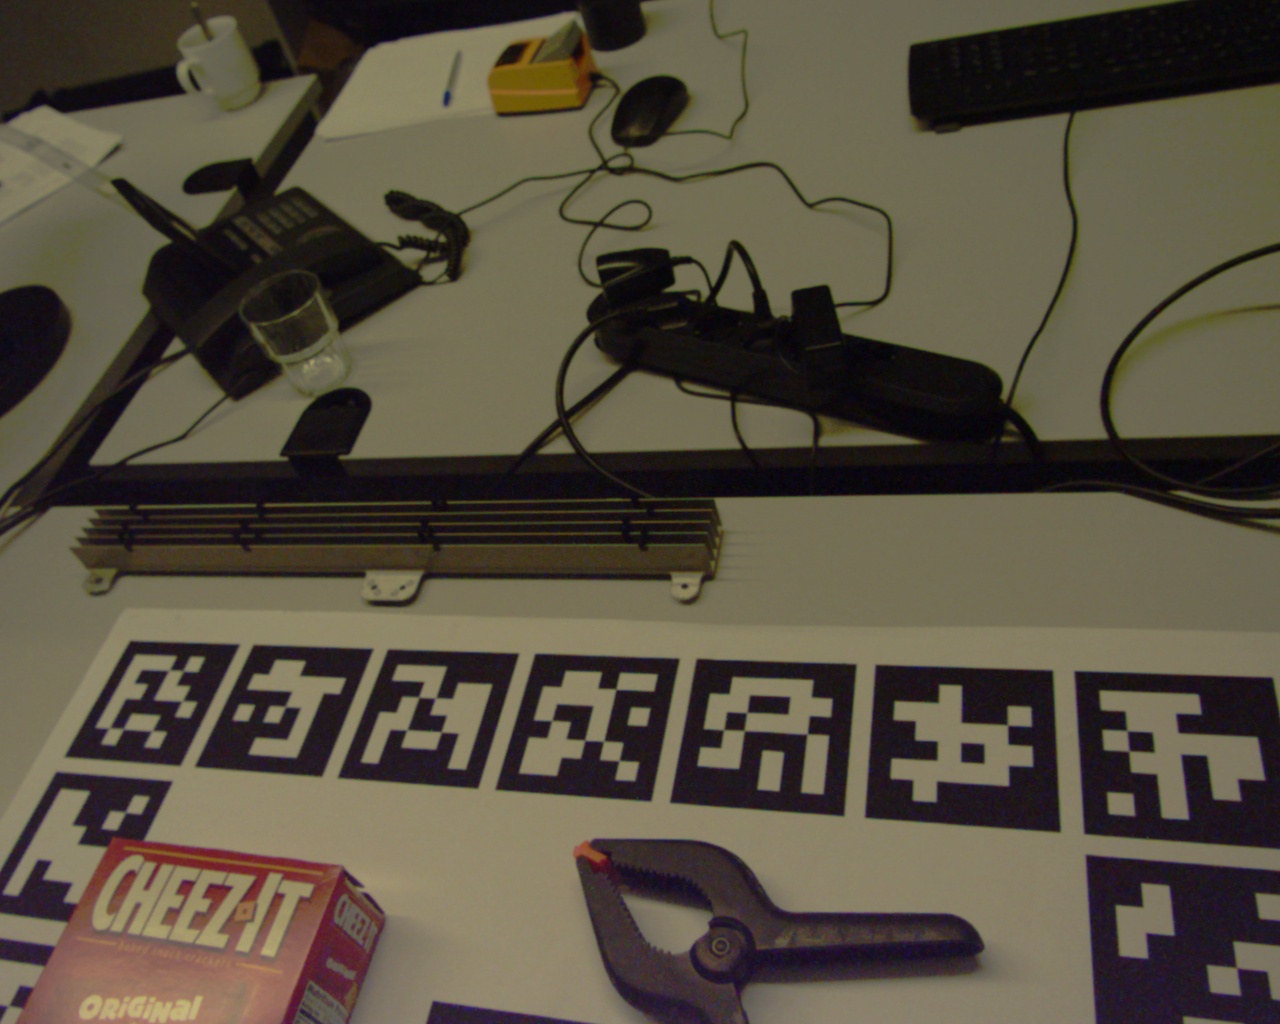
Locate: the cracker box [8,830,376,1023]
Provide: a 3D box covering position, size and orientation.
[{"bbox_3d":[-0.269,0.295,0.640,0.166,0.071,0.213,0,48,20],"label":"cracker box"}]

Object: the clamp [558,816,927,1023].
[{"bbox_3d":[0.029,0.233,0.634,0.205,0.036,0.164,27,61,36],"label":"clamp"}]
